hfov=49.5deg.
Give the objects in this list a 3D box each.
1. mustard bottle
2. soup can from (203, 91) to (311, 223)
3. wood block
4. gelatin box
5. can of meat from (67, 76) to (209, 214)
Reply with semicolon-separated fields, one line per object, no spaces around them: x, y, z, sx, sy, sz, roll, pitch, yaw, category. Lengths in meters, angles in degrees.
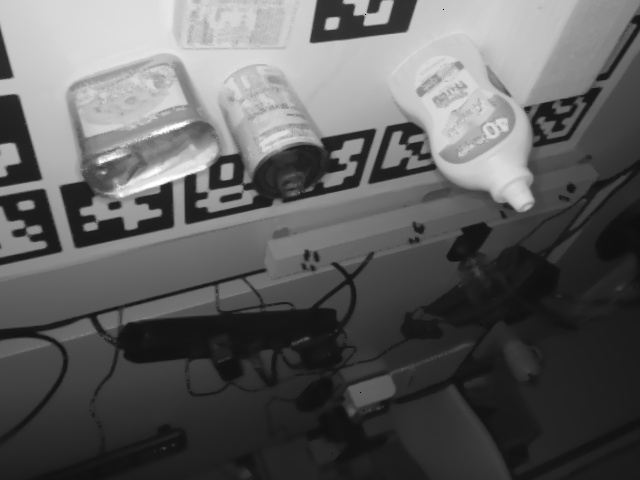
0.135;-0.099;0.654;0.096;0.191;0.058;-26;149;4;mustard bottle
-0.058;-0.075;0.612;0.068;0.102;0.067;-19;146;-12;soup can
0.221;-0.220;0.628;0.092;0.090;0.203;-12;150;-18;wood block
-0.079;-0.170;0.535;0.091;0.030;0.072;-10;143;-29;gelatin box
-0.152;-0.080;0.572;0.102;0.084;0.057;-20;147;-5;can of meat
